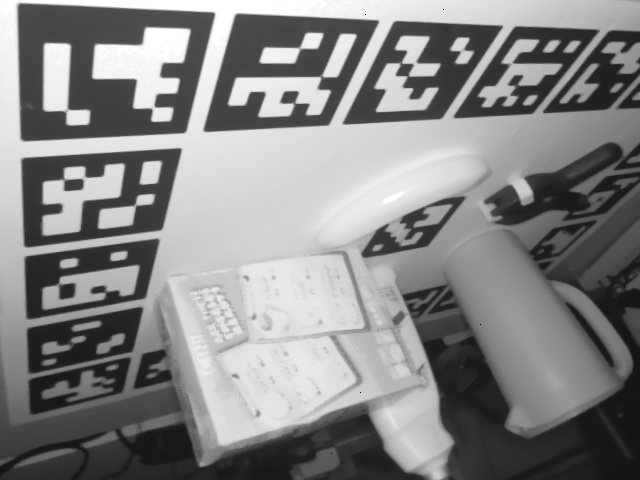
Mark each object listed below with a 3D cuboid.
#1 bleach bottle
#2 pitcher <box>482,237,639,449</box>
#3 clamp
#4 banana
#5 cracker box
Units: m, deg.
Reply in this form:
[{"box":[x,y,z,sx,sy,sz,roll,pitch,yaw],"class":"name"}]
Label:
[{"box":[0.118,0.148,0.803,0.104,0.251,0.067,-8,148,-28],"class":"bleach bottle"},{"box":[0.303,0.117,0.854,0.190,0.243,0.132,-16,151,-10],"class":"pitcher"},{"box":[0.289,-0.059,0.812,0.166,0.036,0.120,-16,151,-13],"class":"clamp"},{"box":[0.098,-0.052,0.693,0.197,0.039,0.074,-26,152,1],"class":"banana"},{"box":[-0.007,0.101,0.688,0.217,0.164,0.071,-8,150,-30],"class":"cracker box"}]
